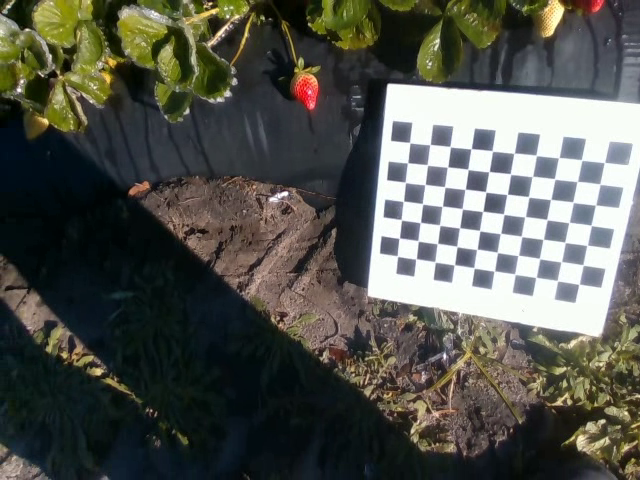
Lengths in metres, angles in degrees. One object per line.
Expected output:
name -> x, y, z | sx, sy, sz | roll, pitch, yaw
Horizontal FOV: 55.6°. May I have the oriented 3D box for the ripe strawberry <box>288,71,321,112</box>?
ripe strawberry -> -0.015, -0.181, 0.732 | 0.039, 0.053, 0.040 | -14, -6, 20
